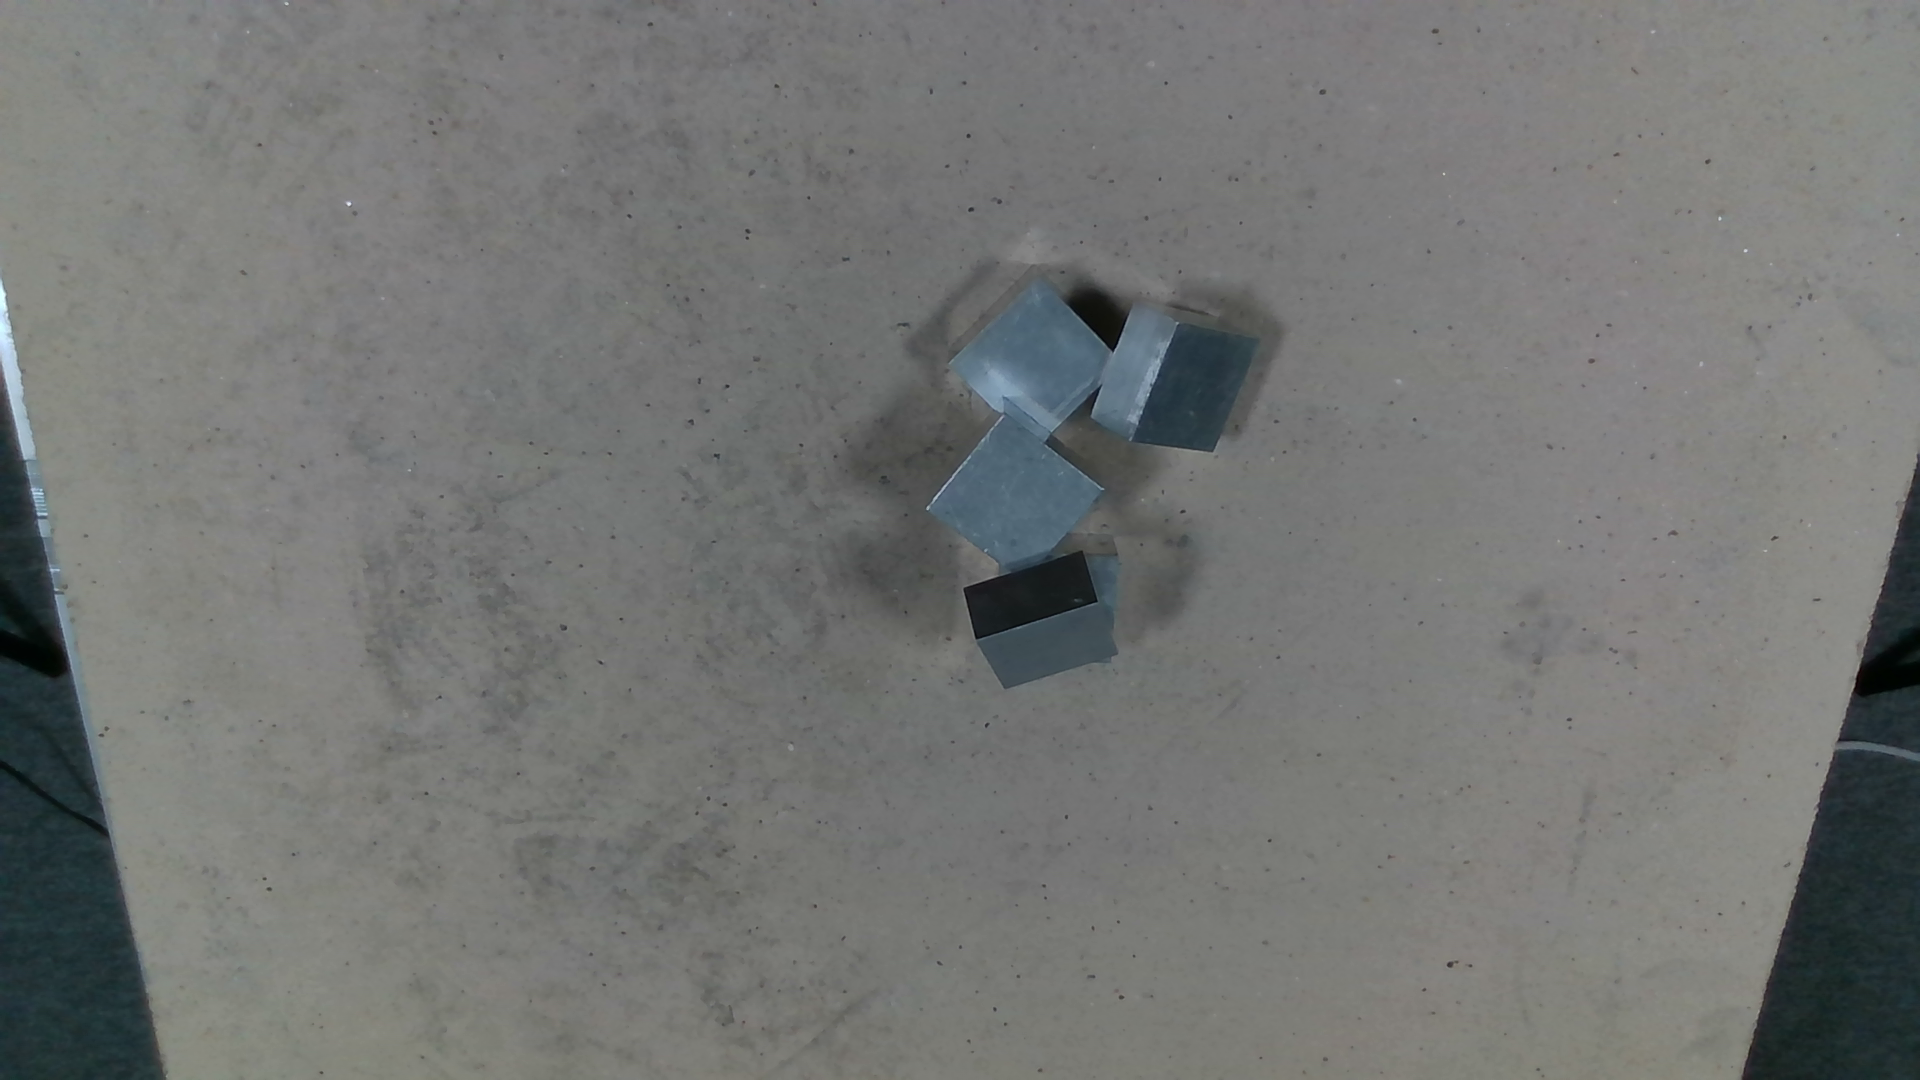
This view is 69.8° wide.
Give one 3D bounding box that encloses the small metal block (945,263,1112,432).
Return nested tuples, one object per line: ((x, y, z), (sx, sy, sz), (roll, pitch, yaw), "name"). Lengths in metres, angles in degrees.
((0.029, -0.075, 0.557), (0.050, 0.025, 0.050), (-43, 105, 14), "small metal block")

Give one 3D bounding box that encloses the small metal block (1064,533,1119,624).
((0.040, 0.025, 0.594), (0.050, 0.025, 0.050), (2, 110, -1), "small metal block")

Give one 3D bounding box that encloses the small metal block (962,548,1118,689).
((0.033, 0.033, 0.557), (0.050, 0.025, 0.050), (-18, 149, 6), "small metal block")

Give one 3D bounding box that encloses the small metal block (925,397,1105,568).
((0.021, -0.020, 0.549), (0.050, 0.025, 0.050), (36, 106, -12), "small metal block")

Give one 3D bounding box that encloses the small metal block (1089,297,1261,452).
((0.086, -0.065, 0.548), (0.050, 0.025, 0.050), (3, 115, -40), "small metal block")
